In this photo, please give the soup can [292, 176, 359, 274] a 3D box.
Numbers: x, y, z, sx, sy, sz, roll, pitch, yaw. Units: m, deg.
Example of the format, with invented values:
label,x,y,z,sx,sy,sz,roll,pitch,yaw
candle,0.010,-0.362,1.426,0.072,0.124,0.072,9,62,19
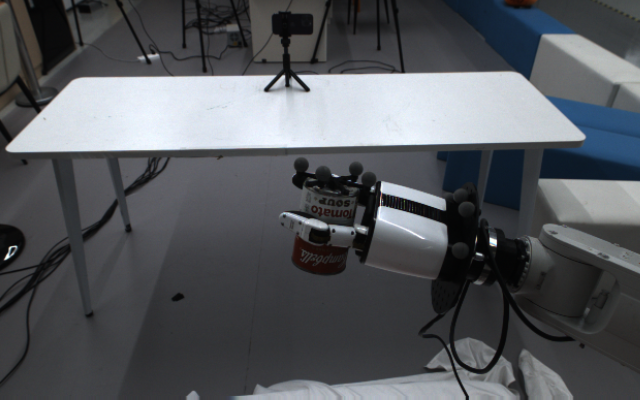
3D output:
label,x,y,z,sx,sy,sz,roll,pitch,yaw
soup can,0.008,0.029,0.575,0.067,0.101,0.067,9,19,-3
